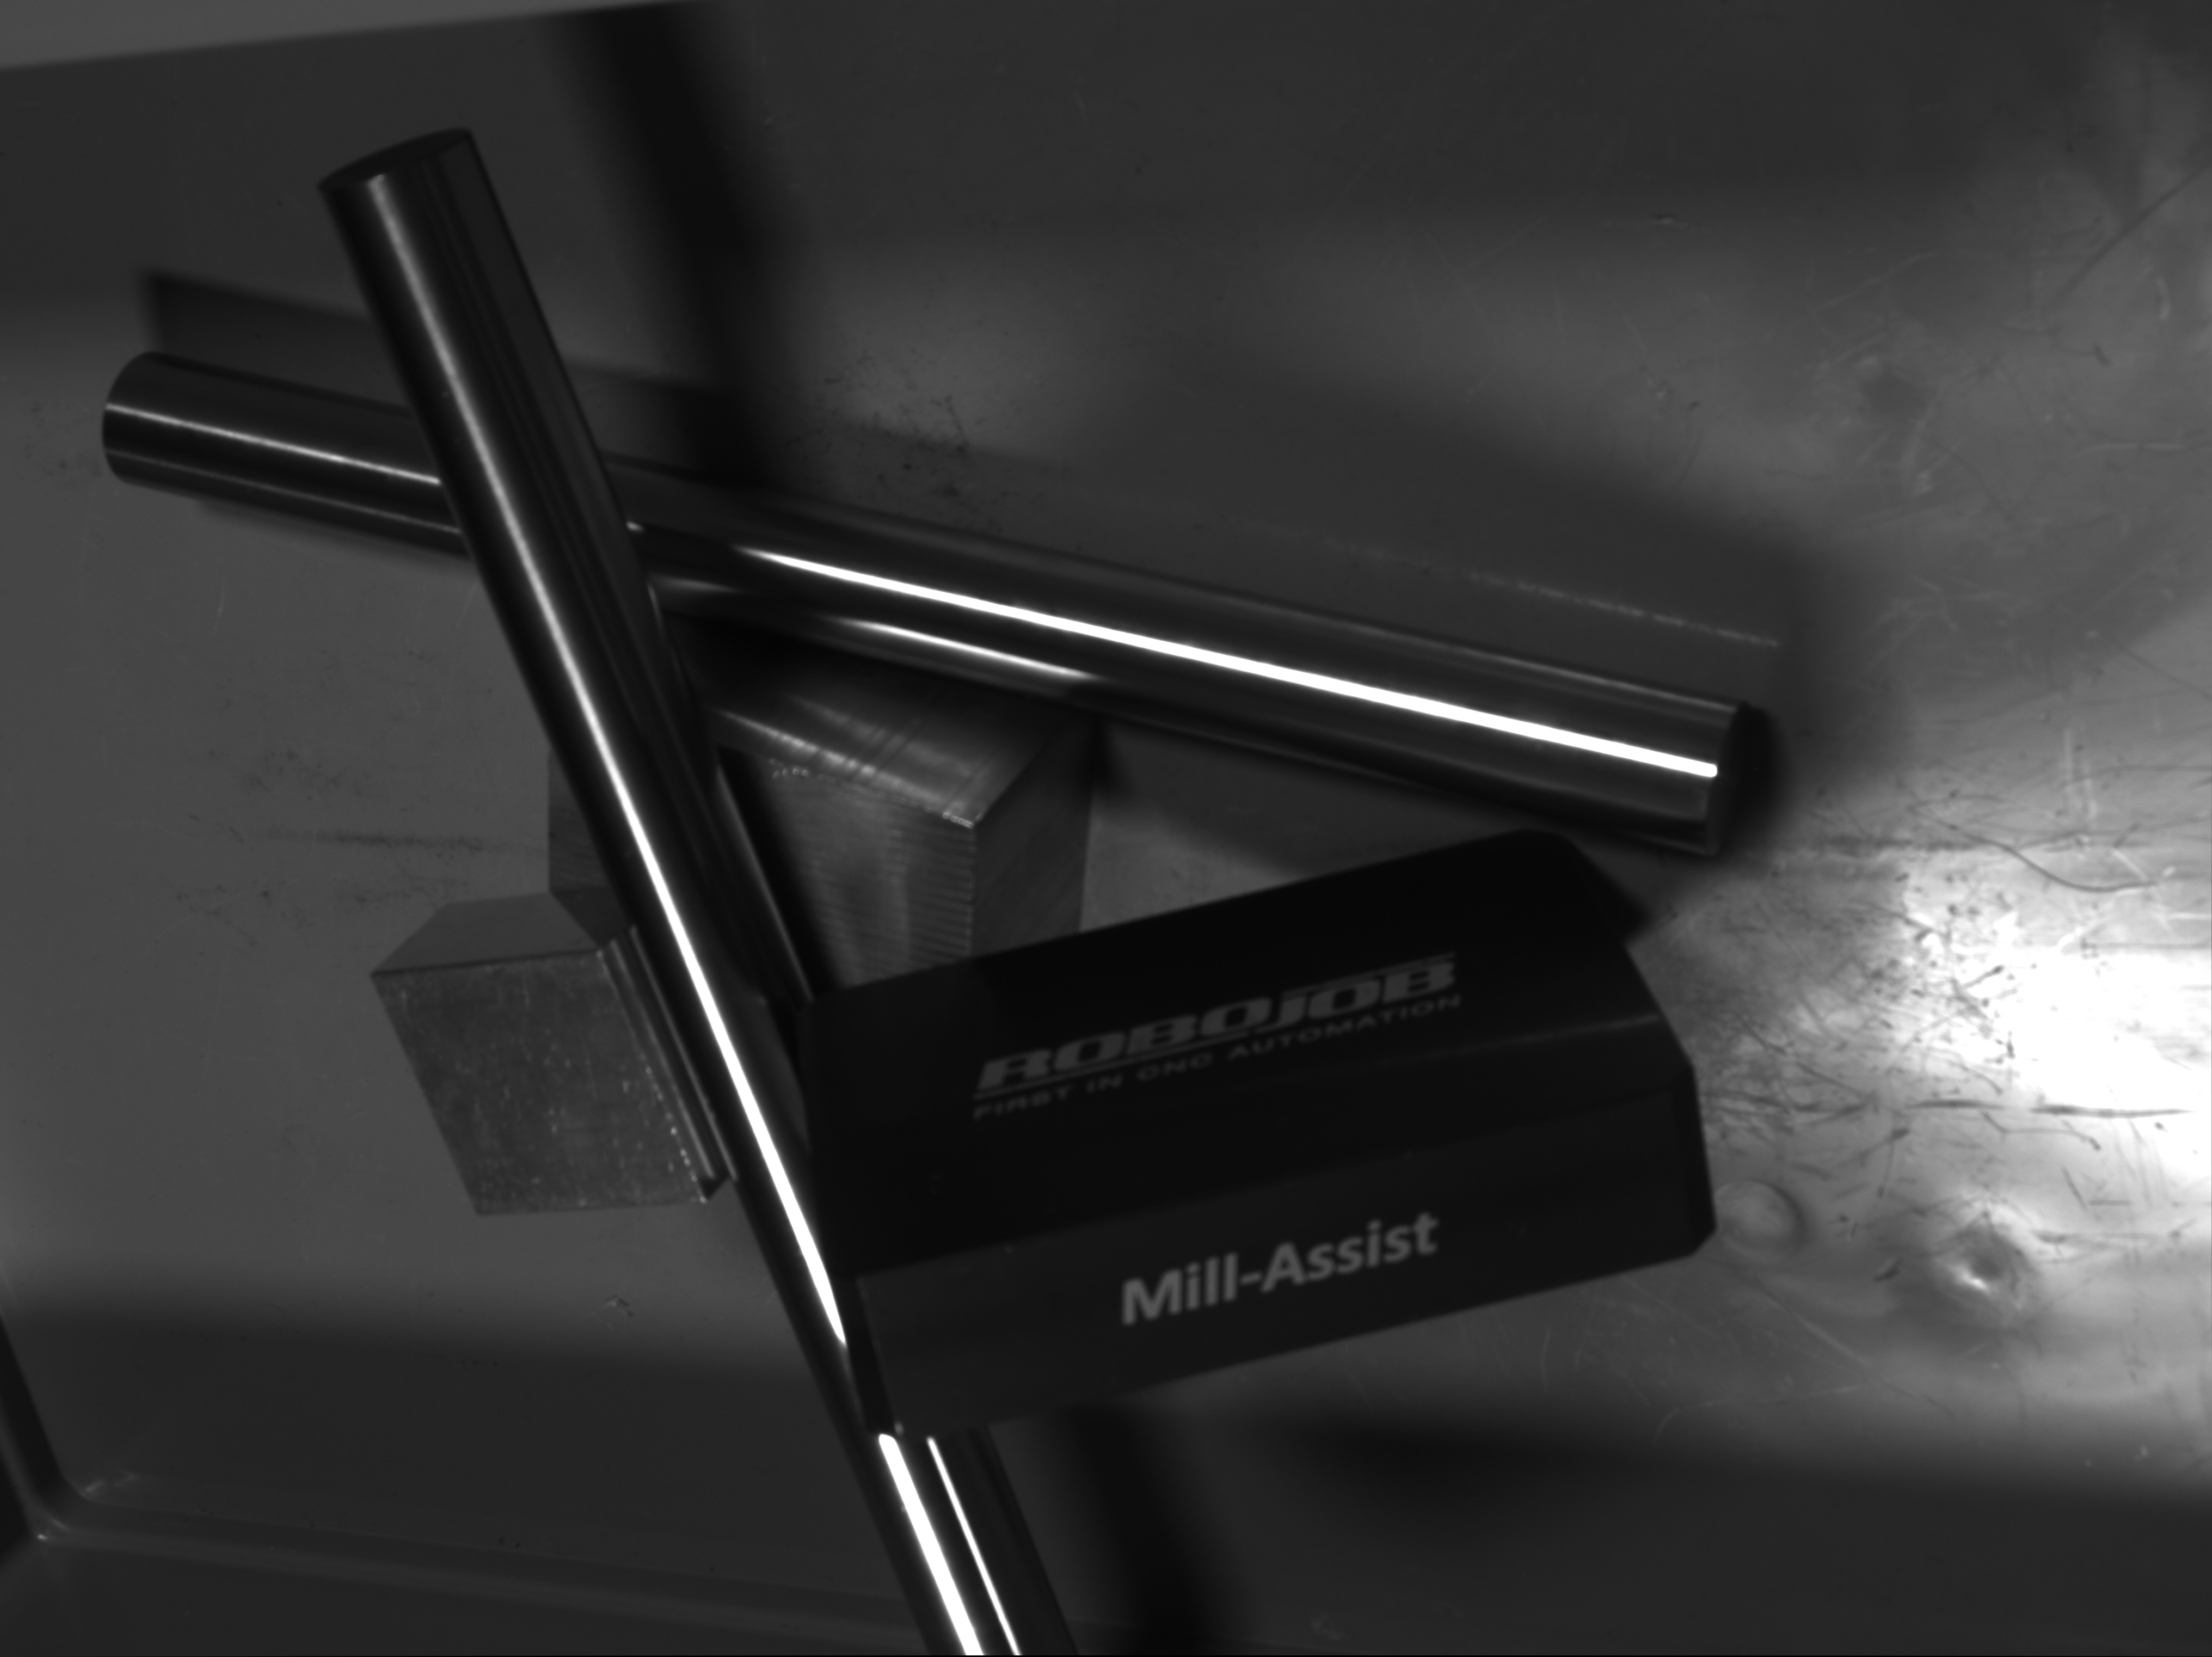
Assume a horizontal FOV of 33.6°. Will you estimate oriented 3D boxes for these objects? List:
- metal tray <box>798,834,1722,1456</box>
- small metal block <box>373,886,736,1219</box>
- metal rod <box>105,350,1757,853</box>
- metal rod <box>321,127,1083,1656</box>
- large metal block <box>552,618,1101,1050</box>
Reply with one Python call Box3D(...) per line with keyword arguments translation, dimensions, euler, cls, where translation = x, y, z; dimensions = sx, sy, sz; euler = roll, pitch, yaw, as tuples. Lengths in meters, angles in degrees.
Box3D(translation=(0.021, 0.047, 0.572), dimensions=(0.130, 0.090, 0.030), euler=(-14, 116, -2), cls="metal tray")
Box3D(translation=(-0.091, 0.039, 0.635), dimensions=(0.050, 0.025, 0.050), euler=(-7, 115, 29), cls="small metal block")
Box3D(translation=(-0.039, -0.042, 0.625), dimensions=(0.299, 0.025, 0.025), euler=(14, 124, 19), cls="metal rod")
Box3D(translation=(-0.061, 0.029, 0.614), dimensions=(0.025, 0.025, 0.300), euler=(-7, 115, 30), cls="metal rod")
Box3D(translation=(-0.050, 0.010, 0.645), dimensions=(0.080, 0.050, 0.080), euler=(16, 124, 17), cls="large metal block")
